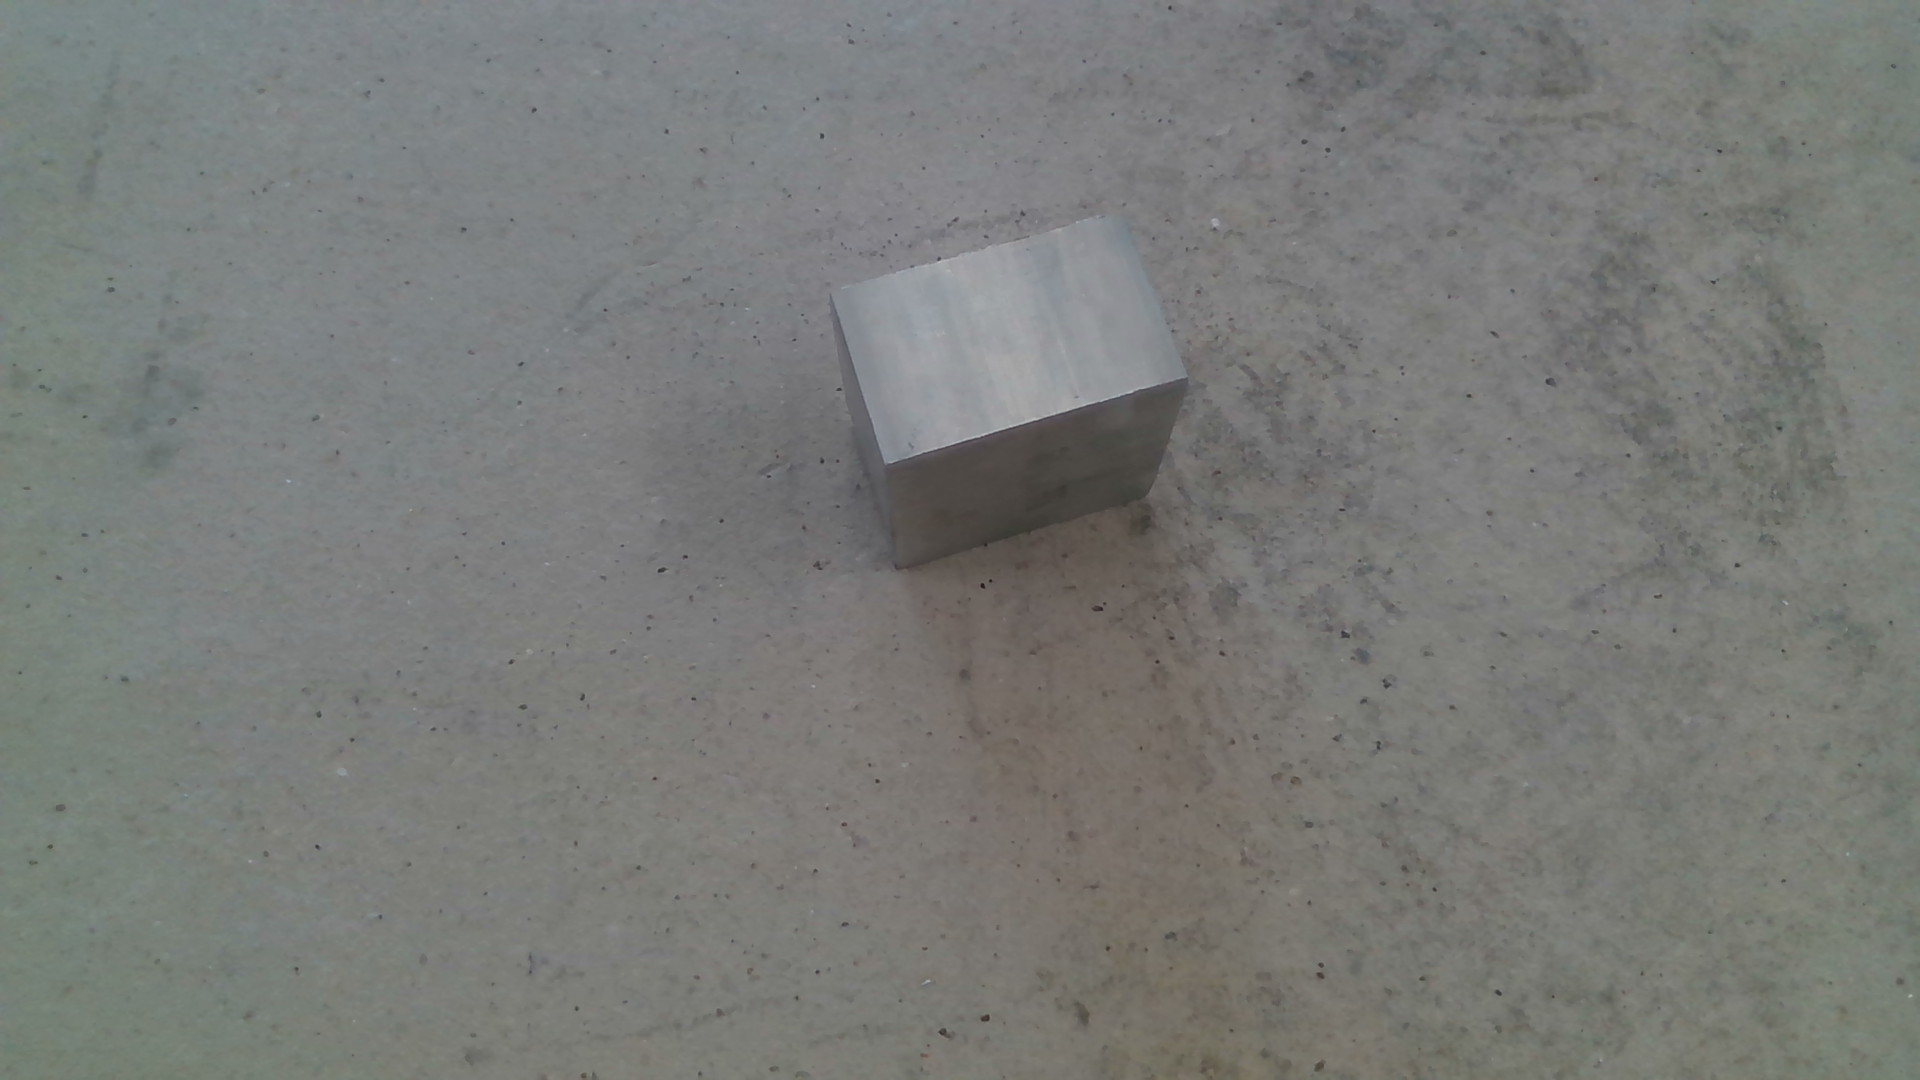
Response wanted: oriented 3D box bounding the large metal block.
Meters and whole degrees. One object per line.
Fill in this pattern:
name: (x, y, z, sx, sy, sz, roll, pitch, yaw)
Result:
large metal block: (0.011, -0.038, 0.379, 0.080, 0.080, 0.050, -16, 71, -6)
